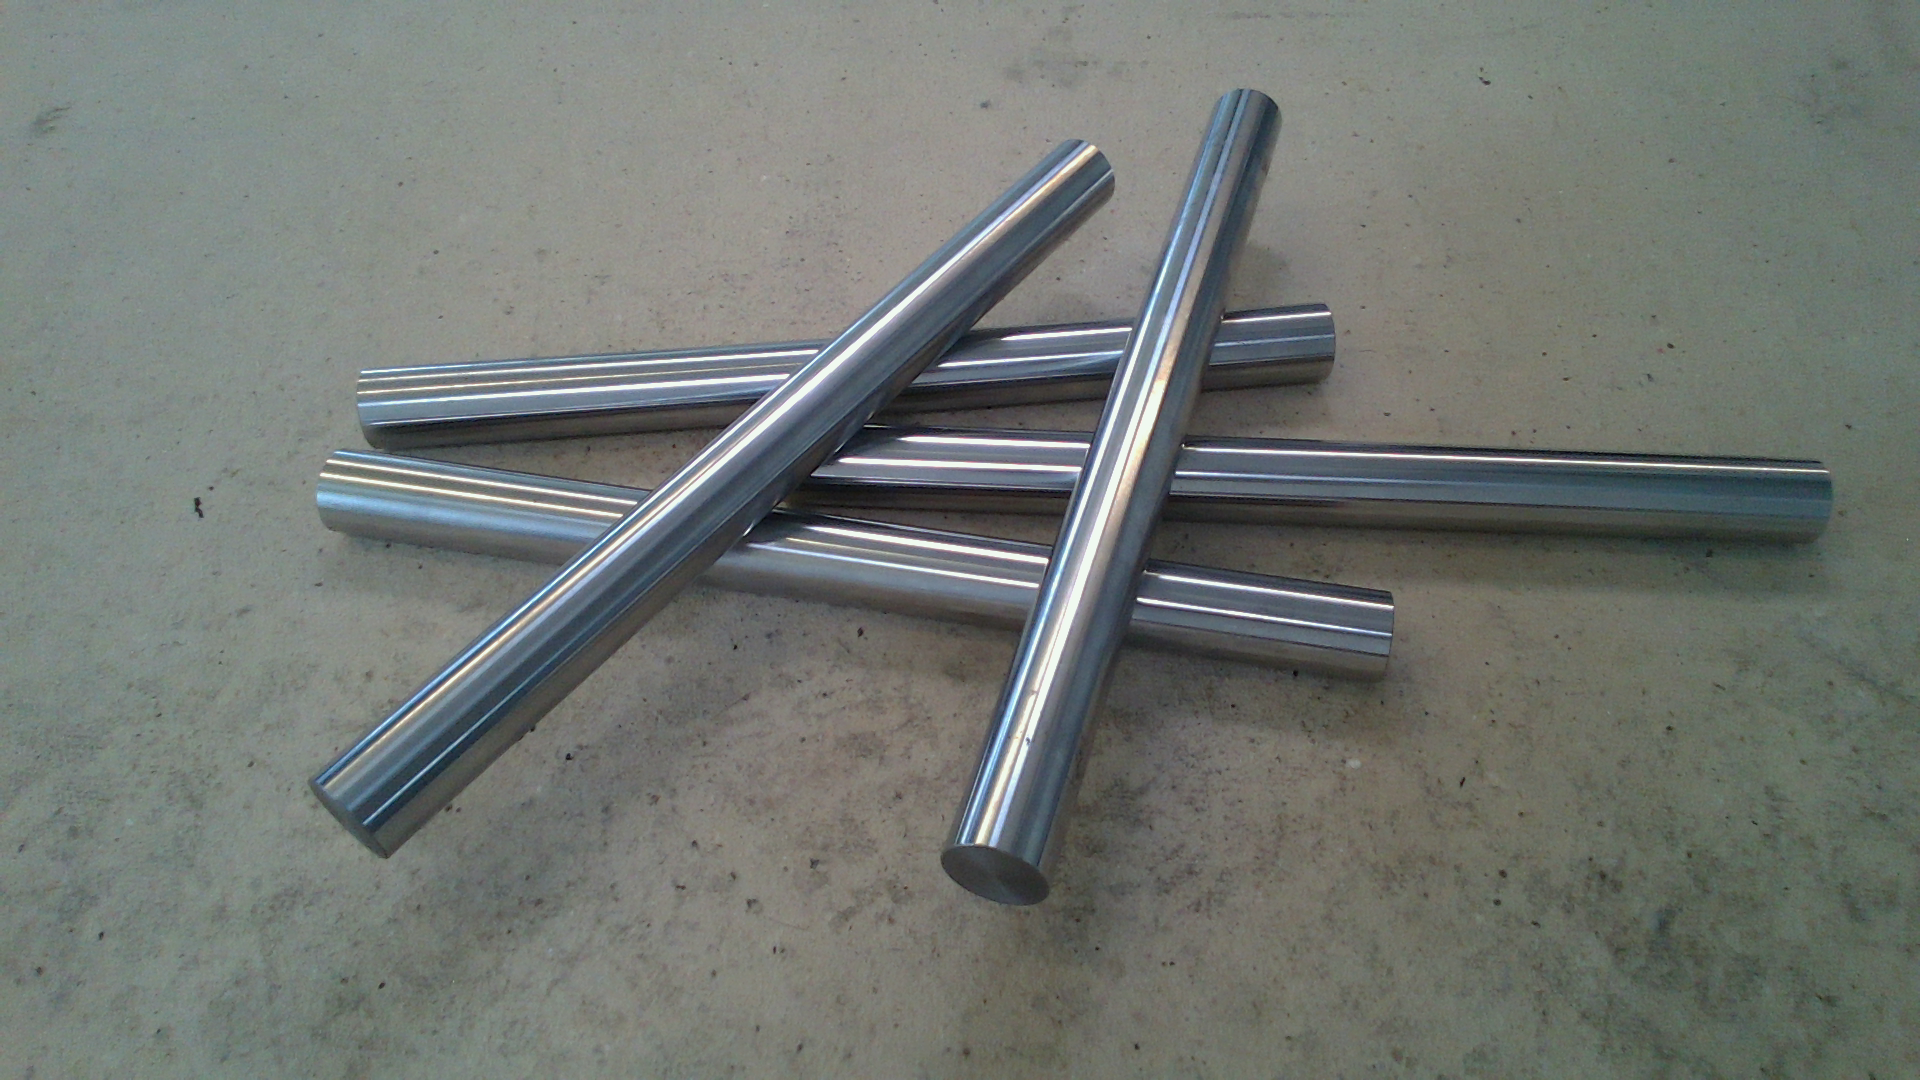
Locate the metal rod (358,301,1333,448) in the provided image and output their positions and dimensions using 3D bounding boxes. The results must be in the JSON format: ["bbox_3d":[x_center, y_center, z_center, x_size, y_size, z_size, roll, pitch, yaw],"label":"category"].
[{"bbox_3d":[-0.032,-0.053,0.436,0.300,0.025,0.025,-5,50,-4],"label":"metal rod"}]

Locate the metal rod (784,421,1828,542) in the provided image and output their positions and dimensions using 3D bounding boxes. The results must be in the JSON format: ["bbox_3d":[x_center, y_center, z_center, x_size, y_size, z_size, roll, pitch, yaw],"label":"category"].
[{"bbox_3d":[0.097,-0.018,0.407,0.300,0.025,0.025,2,50,2],"label":"metal rod"}]

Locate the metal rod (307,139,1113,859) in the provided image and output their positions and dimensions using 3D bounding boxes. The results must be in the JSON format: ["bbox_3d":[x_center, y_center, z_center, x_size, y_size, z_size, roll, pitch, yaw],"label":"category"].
[{"bbox_3d":[-0.048,-0.031,0.385,0.025,0.025,0.301,29,56,22],"label":"metal rod"}]

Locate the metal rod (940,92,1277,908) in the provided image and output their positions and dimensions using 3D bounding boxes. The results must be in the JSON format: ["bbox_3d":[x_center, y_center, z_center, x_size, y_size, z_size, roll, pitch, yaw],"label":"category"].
[{"bbox_3d":[0.053,-0.036,0.390,0.025,0.025,0.301,14,51,11],"label":"metal rod"}]

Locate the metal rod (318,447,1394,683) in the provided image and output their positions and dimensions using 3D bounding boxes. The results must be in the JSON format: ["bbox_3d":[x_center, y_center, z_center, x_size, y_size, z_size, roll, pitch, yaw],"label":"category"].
[{"bbox_3d":[-0.034,0.006,0.387,0.300,0.025,0.025,8,50,7],"label":"metal rod"}]
